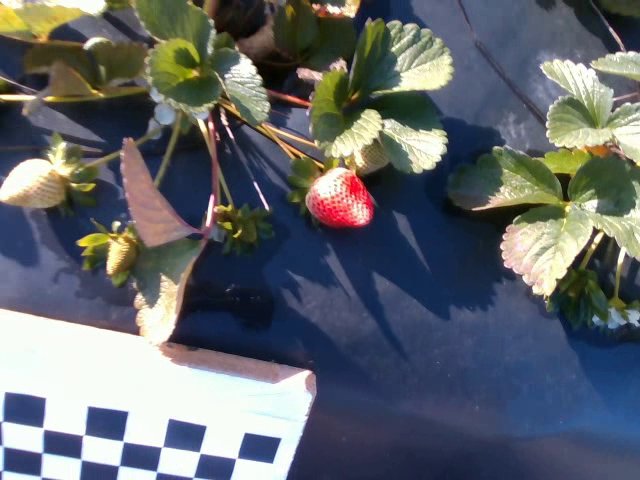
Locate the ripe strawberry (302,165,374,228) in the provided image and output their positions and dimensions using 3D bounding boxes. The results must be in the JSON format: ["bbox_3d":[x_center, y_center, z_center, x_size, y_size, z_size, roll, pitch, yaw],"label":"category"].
[{"bbox_3d":[0.013,-0.020,0.309,0.042,0.037,0.045,-18,33,-28],"label":"ripe strawberry"}]
